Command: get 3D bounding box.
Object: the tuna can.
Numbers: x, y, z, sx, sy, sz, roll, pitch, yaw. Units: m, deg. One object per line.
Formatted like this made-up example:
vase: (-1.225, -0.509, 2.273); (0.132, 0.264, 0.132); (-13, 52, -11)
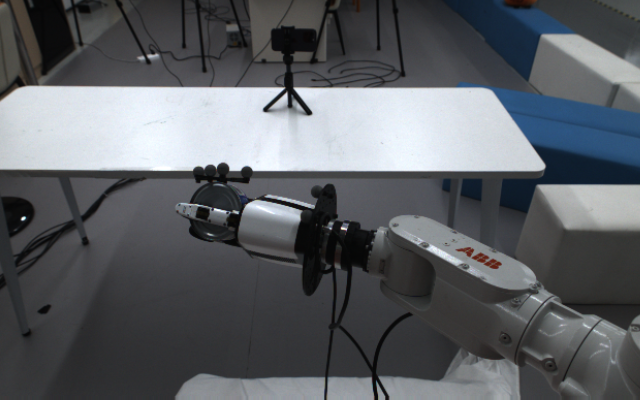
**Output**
tuna can: (-0.147, 0.018, 0.709); (0.085, 0.085, 0.034); (15, 0, 18)
